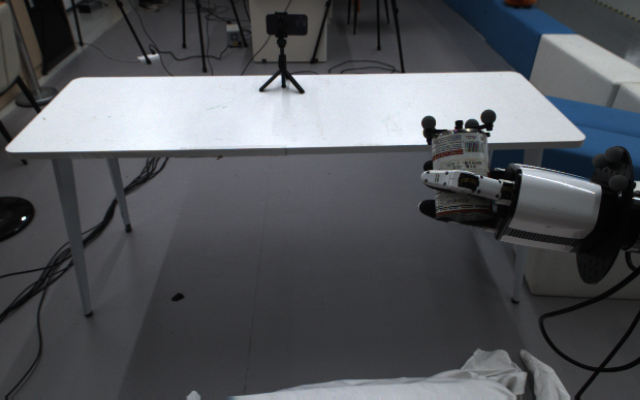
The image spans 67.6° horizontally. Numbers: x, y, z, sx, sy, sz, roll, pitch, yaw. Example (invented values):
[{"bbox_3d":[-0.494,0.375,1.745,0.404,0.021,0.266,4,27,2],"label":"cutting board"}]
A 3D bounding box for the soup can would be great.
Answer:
[{"bbox_3d":[0.173,-0.028,0.586,0.067,0.101,0.067,-1,-9,0],"label":"soup can"}]
